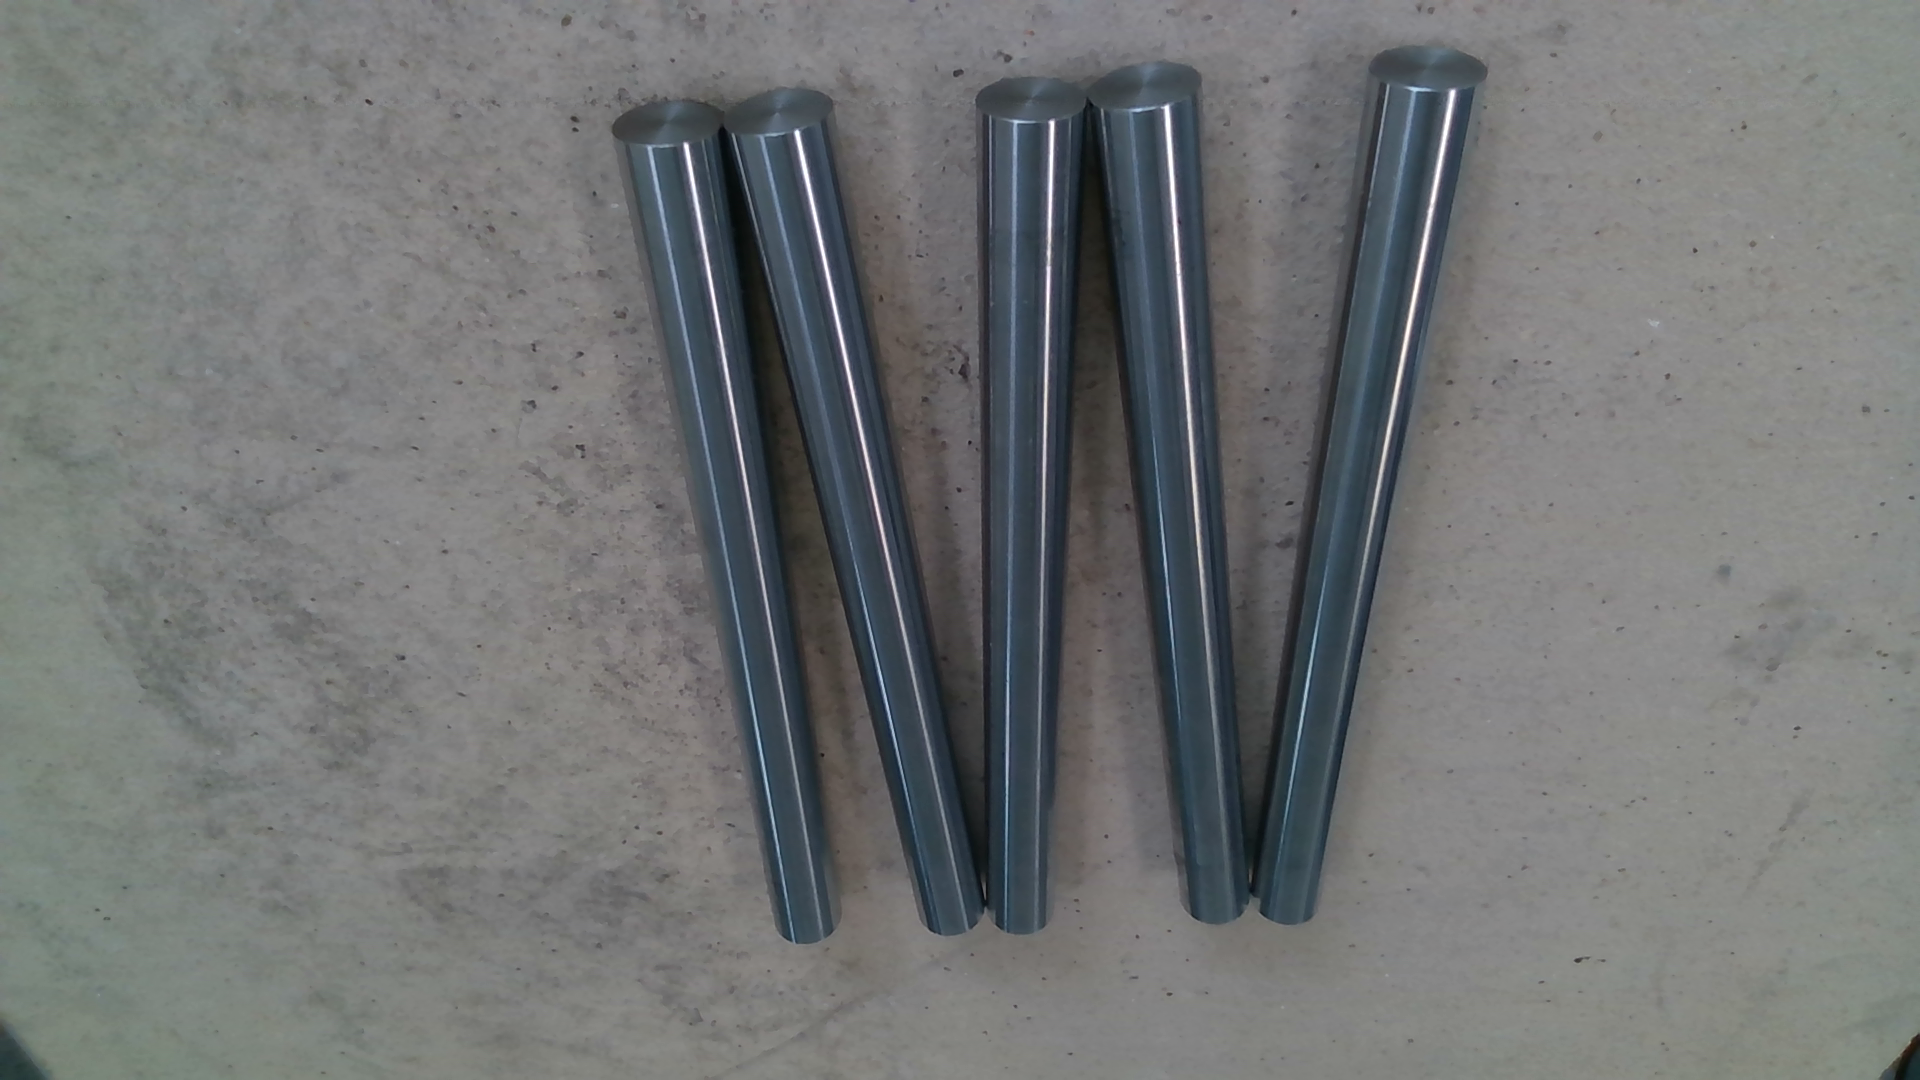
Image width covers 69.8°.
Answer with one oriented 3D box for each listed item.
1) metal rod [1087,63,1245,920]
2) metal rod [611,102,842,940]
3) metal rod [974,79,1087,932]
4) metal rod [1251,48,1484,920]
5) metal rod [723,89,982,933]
[{"bbox_3d":[0.066,0.013,0.400,0.025,0.025,0.301,-7,130,6],"label":"metal rod"},{"bbox_3d":[-0.061,0.021,0.407,0.025,0.025,0.301,-1,130,1],"label":"metal rod"},{"bbox_3d":[0.019,0.017,0.403,0.025,0.025,0.301,-1,130,1],"label":"metal rod"},{"bbox_3d":[0.109,0.012,0.399,0.025,0.025,0.301,-2,130,2],"label":"metal rod"},{"bbox_3d":[-0.022,0.018,0.405,0.025,0.025,0.301,-5,130,5],"label":"metal rod"}]
